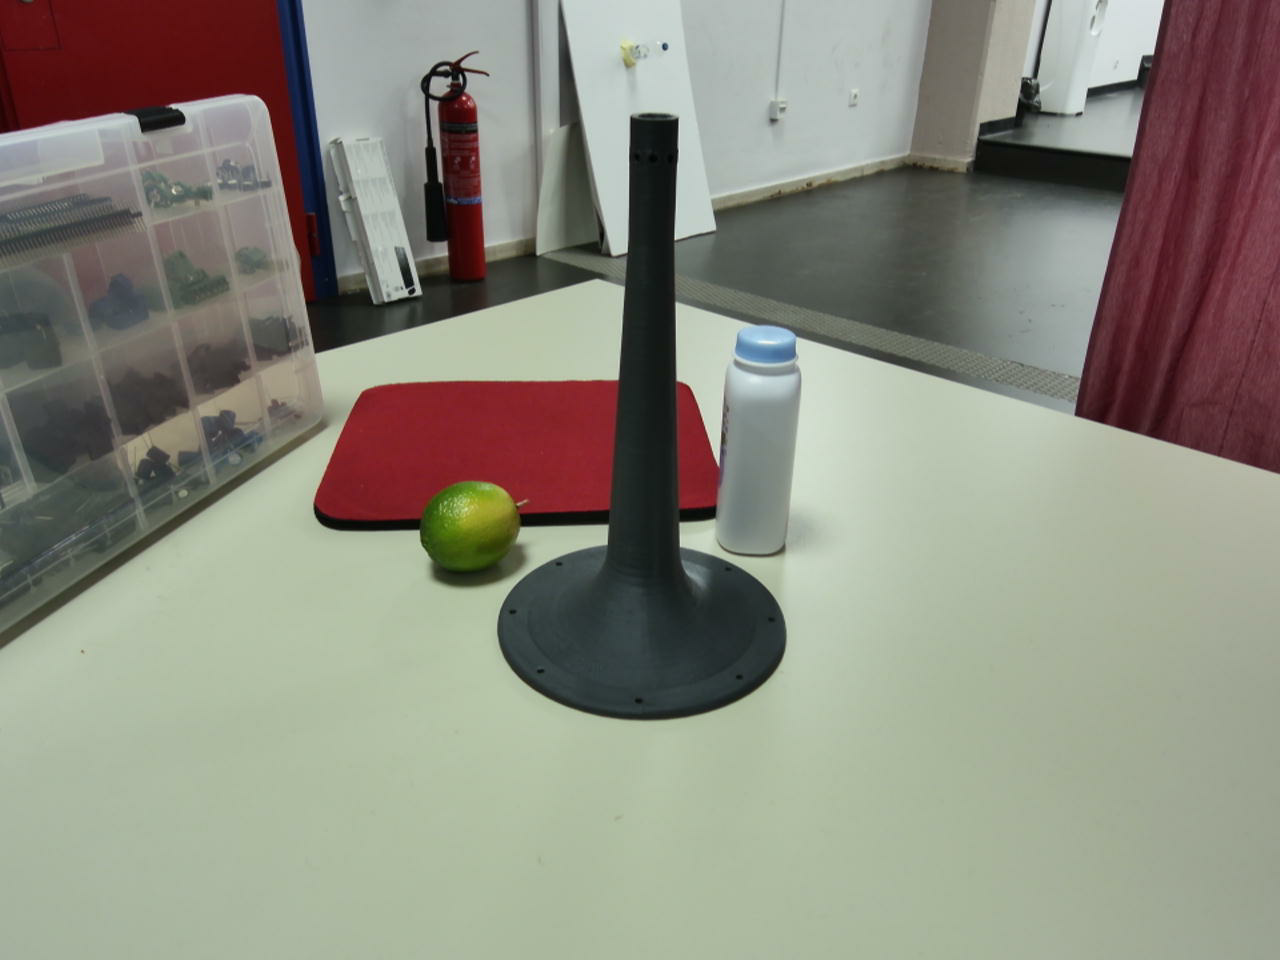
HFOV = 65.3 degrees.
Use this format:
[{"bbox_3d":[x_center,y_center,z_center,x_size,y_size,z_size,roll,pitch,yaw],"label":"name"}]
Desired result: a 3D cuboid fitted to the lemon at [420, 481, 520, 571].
[{"bbox_3d":[-0.096,0.026,0.566,0.055,0.050,0.054,2,25,2],"label":"lemon"}]
